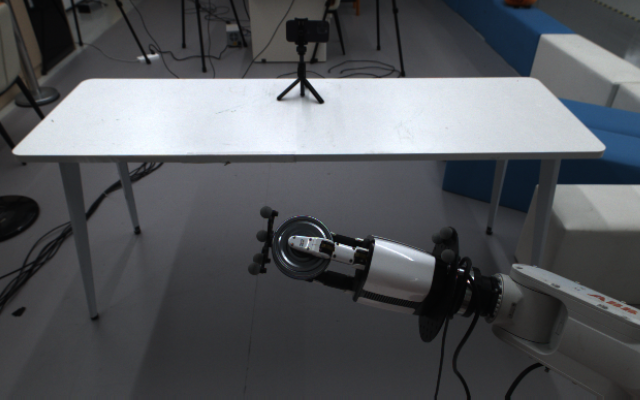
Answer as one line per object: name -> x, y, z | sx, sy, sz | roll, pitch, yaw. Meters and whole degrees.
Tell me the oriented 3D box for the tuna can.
tuna can -> -0.022, 0.064, 0.663 | 0.085, 0.034, 0.085 | 2, 73, -5
